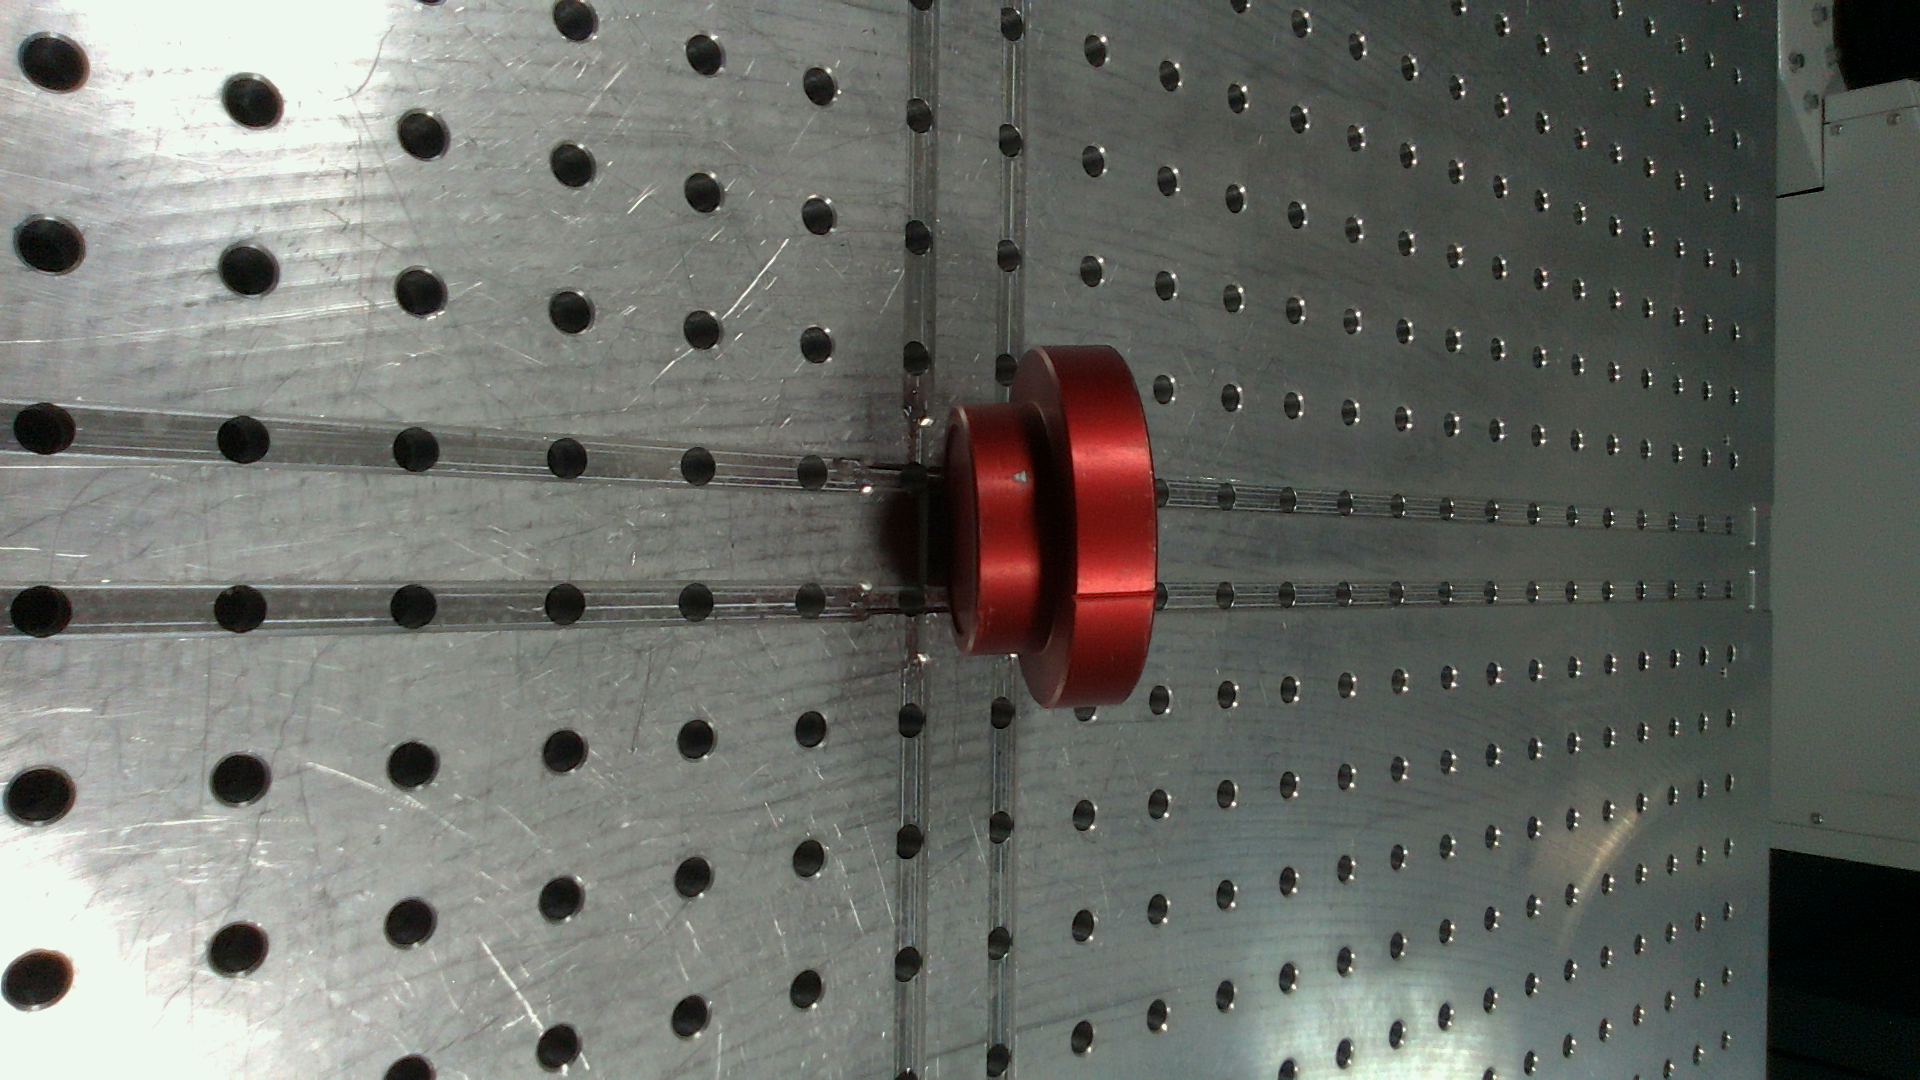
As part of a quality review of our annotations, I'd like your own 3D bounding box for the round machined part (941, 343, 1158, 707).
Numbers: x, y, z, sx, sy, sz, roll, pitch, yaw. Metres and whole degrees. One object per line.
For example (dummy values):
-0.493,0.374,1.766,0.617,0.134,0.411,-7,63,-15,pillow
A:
0.020,-0.004,0.372,0.042,0.098,0.098,-2,92,-8,round machined part
